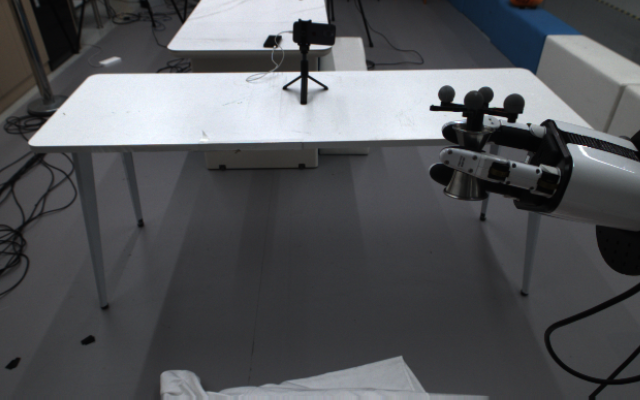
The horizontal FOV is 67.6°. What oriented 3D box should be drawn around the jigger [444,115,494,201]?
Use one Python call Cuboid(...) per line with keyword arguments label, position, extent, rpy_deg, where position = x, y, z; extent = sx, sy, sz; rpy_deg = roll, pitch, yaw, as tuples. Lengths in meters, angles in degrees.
Cuboid(label="jigger", position=(0.148, -0.039, 0.487), extent=(0.043, 0.071, 0.043), rpy_deg=(1, 20, 0))
